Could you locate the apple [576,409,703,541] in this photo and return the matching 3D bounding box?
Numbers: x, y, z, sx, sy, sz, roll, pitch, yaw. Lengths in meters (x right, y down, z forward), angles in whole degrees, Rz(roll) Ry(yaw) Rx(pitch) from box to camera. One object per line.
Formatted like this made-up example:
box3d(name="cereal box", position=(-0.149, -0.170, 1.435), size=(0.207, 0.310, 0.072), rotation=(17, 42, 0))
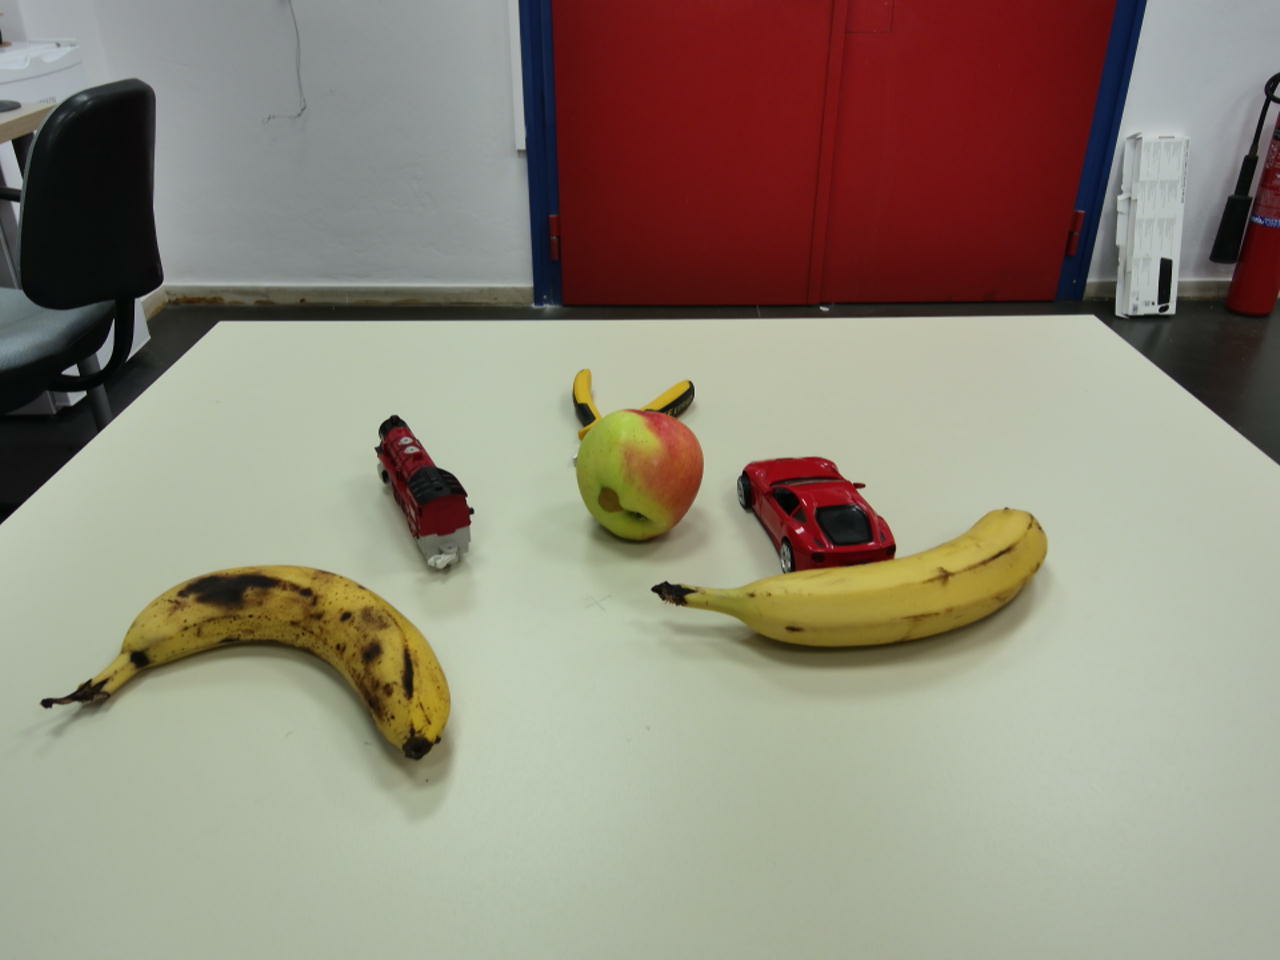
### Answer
box3d(name="apple", position=(0.000, -0.004, 0.580), size=(0.075, 0.074, 0.075), rotation=(-8, 28, -18))
